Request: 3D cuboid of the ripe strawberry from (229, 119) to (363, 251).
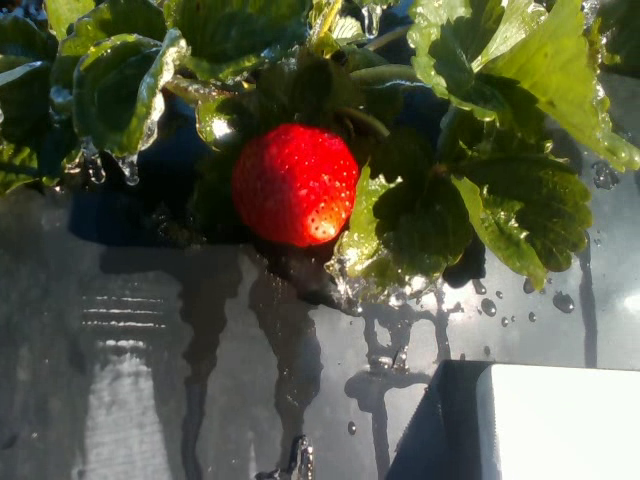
[{"bbox_3d":[-0.005,-0.012,0.153,0.041,0.047,0.053,-2,24,-4],"label":"ripe strawberry"}]
